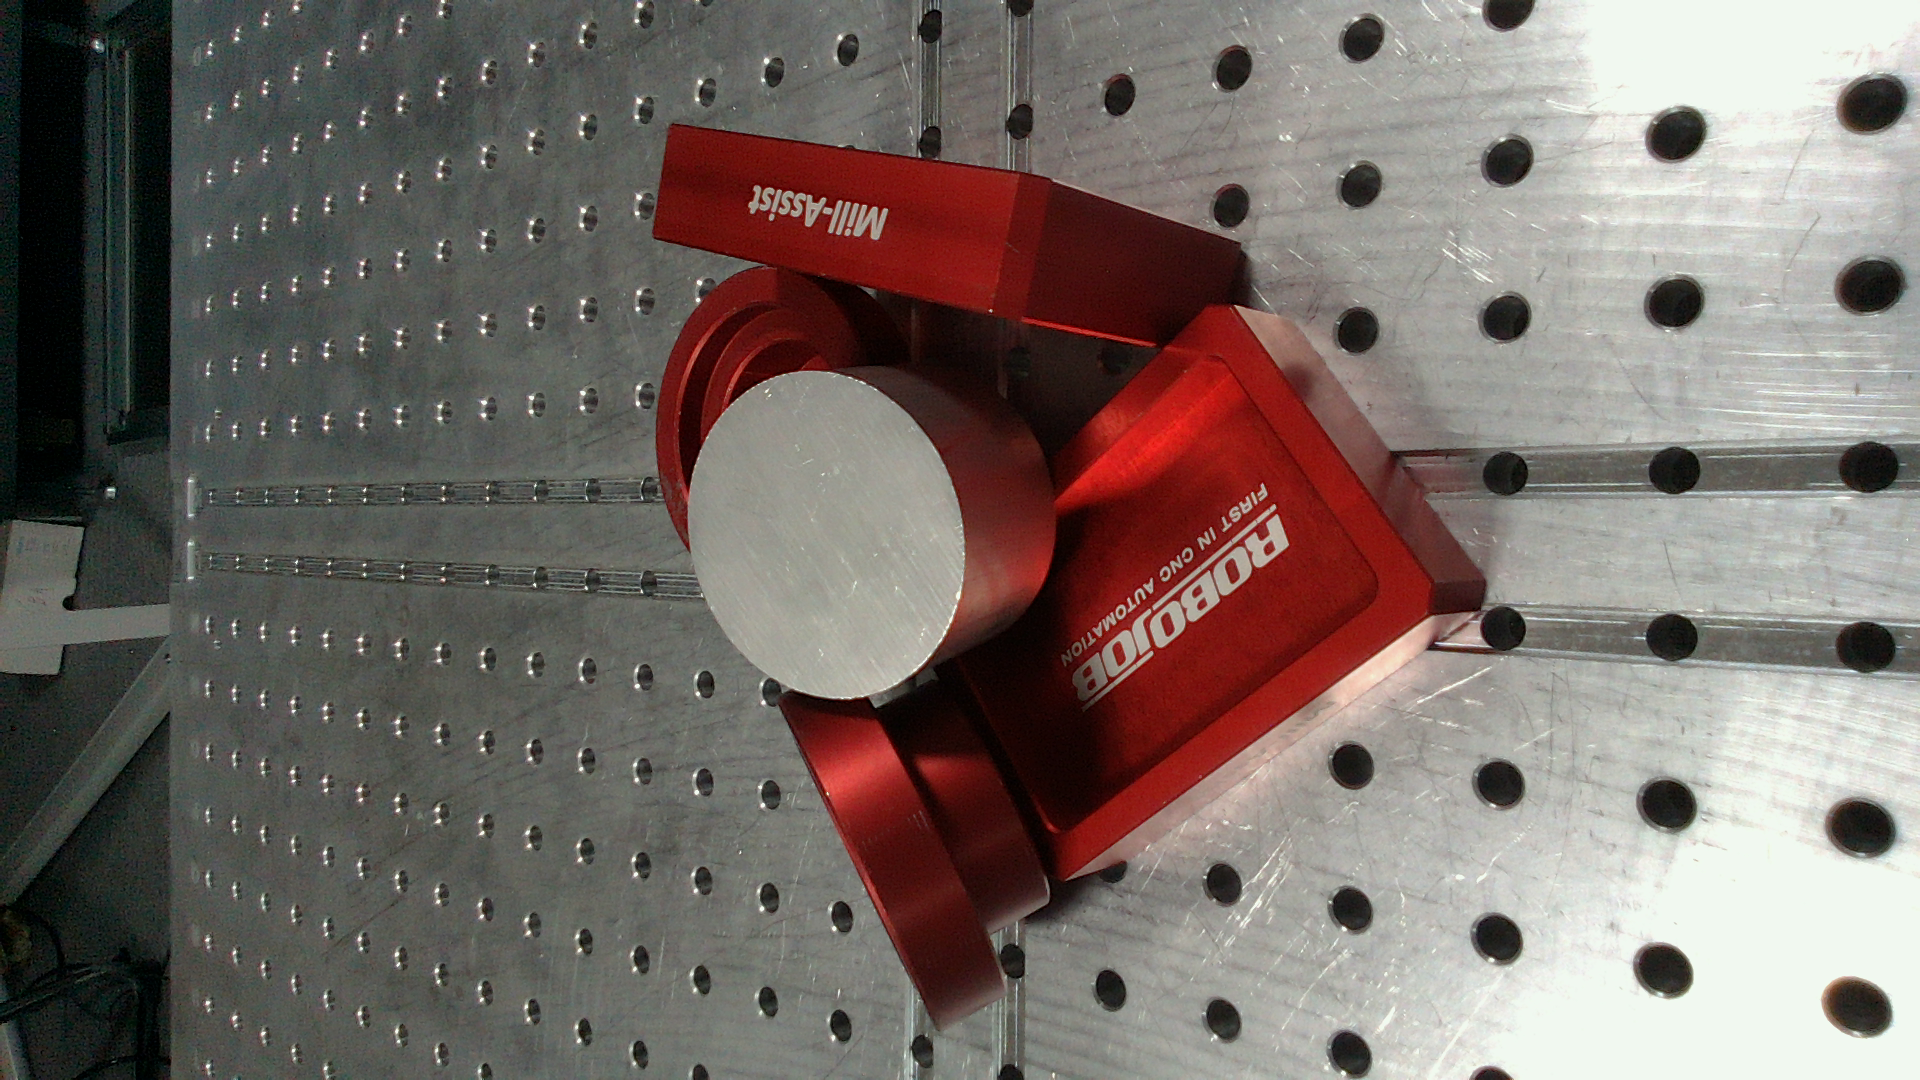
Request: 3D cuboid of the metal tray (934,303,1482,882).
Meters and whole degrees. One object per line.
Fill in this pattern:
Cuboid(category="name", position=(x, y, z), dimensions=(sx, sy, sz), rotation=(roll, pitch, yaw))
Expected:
Cuboid(category="metal tray", position=(0.052, 0.016, 0.350), dimensions=(0.130, 0.030, 0.090), rotation=(-44, 63, 31))

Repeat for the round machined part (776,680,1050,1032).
Cuboid(category="round machined part", position=(-0.010, 0.077, 0.372), dimensions=(0.098, 0.042, 0.098), rotation=(60, 168, 22))

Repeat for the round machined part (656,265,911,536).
Cuboid(category="round machined part", position=(-0.048, -0.033, 0.427), dimensions=(0.098, 0.042, 0.098), rotation=(0, 90, 40))

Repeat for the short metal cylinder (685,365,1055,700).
Cuboid(category="short metal cylinder", position=(-0.023, -0.004, 0.352), dimensions=(0.080, 0.050, 0.080), rotation=(5, 101, 27))

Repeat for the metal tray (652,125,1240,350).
Cuboid(category="metal tray", position=(-0.006, -0.079, 0.359), dimensions=(0.129, 0.090, 0.030), rotation=(20, 103, 38))
